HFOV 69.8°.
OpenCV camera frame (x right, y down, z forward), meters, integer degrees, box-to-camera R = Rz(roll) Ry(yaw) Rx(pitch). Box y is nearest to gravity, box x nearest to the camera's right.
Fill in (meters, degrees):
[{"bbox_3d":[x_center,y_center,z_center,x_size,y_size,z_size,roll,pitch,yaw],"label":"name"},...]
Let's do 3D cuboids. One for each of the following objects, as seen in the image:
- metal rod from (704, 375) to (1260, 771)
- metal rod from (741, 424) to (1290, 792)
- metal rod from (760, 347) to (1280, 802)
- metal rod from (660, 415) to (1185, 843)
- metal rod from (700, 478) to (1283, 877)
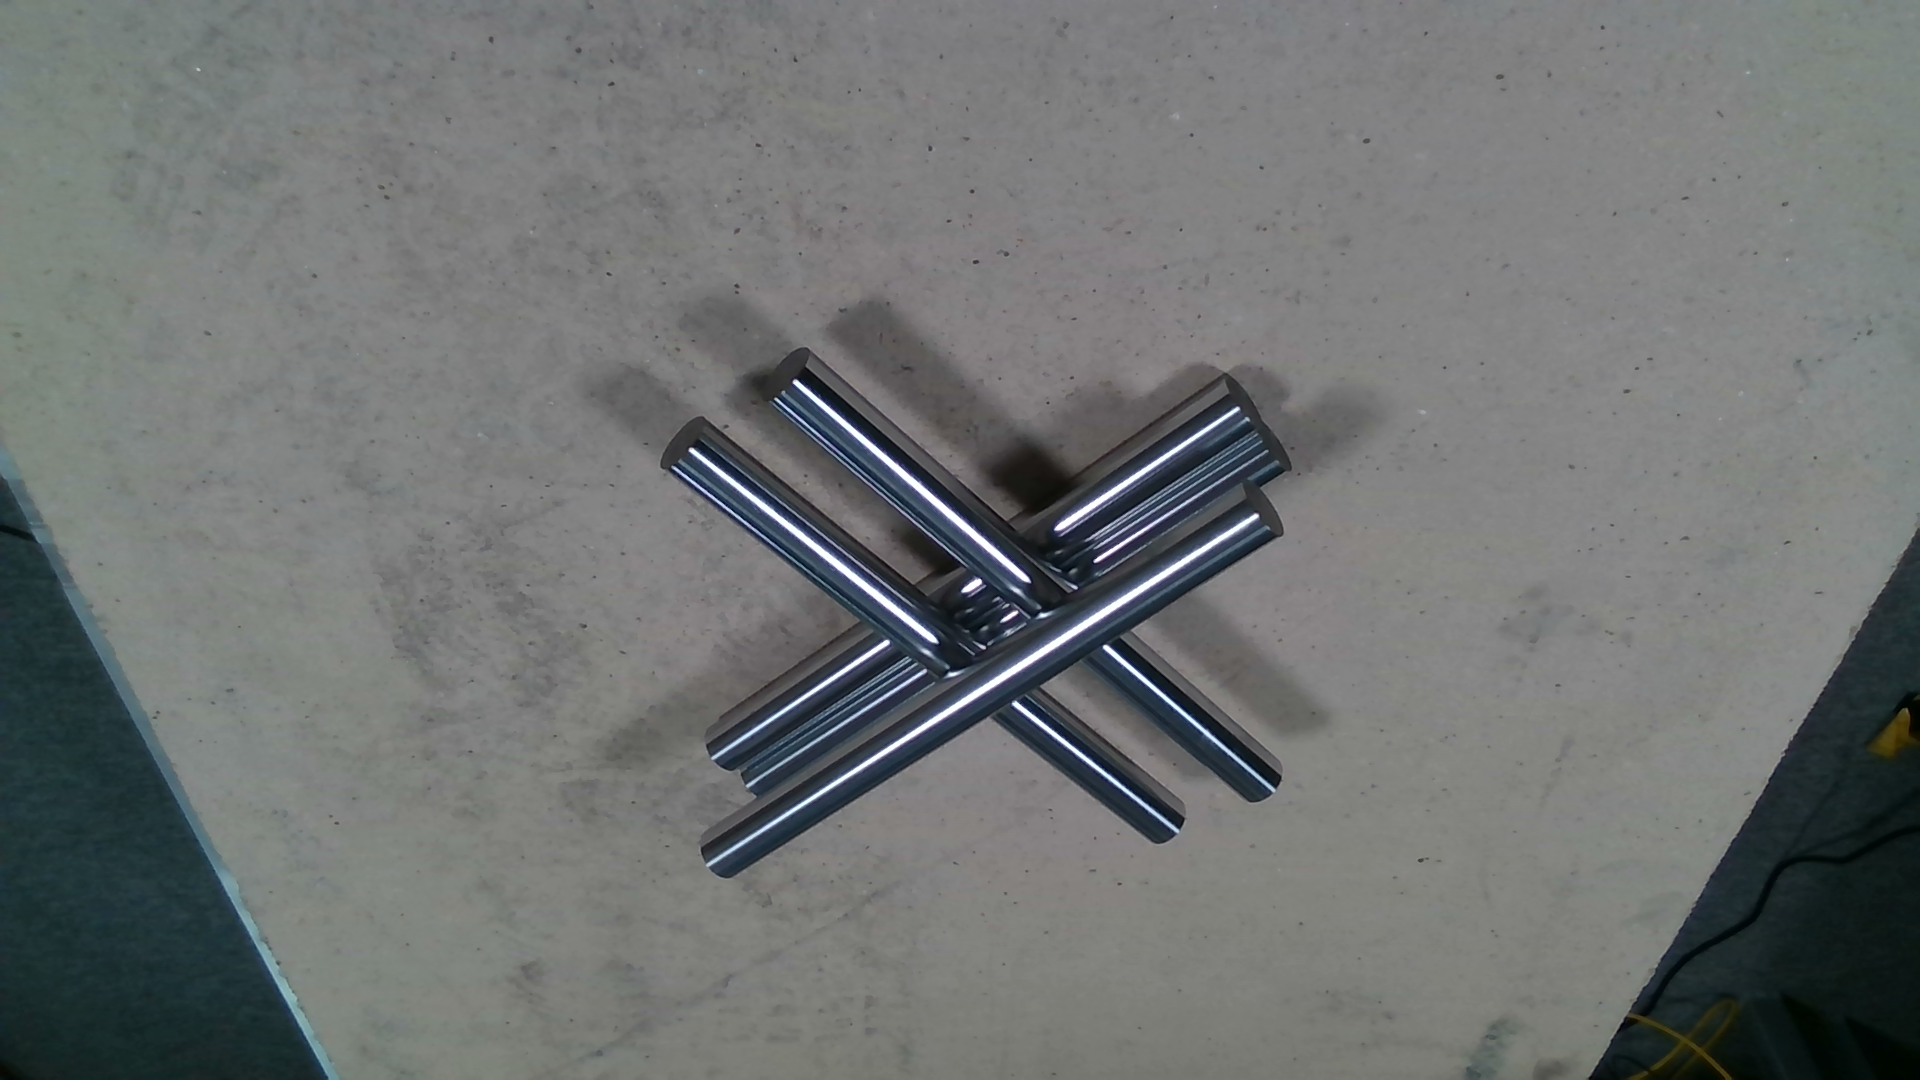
[{"bbox_3d":[-0.002,0.023,0.598,0.300,0.025,0.025,-34,122,25],"label":"metal rod"},{"bbox_3d":[0.013,0.039,0.612,0.300,0.025,0.025,-34,122,25],"label":"metal rod"},{"bbox_3d":[0.037,0.025,0.568,0.025,0.025,0.301,-35,122,26],"label":"metal rod"},{"bbox_3d":[-0.004,0.049,0.587,0.025,0.025,0.301,-35,122,26],"label":"metal rod"},{"bbox_3d":[0.000,0.066,0.569,0.300,0.025,0.025,-35,122,26],"label":"metal rod"}]
